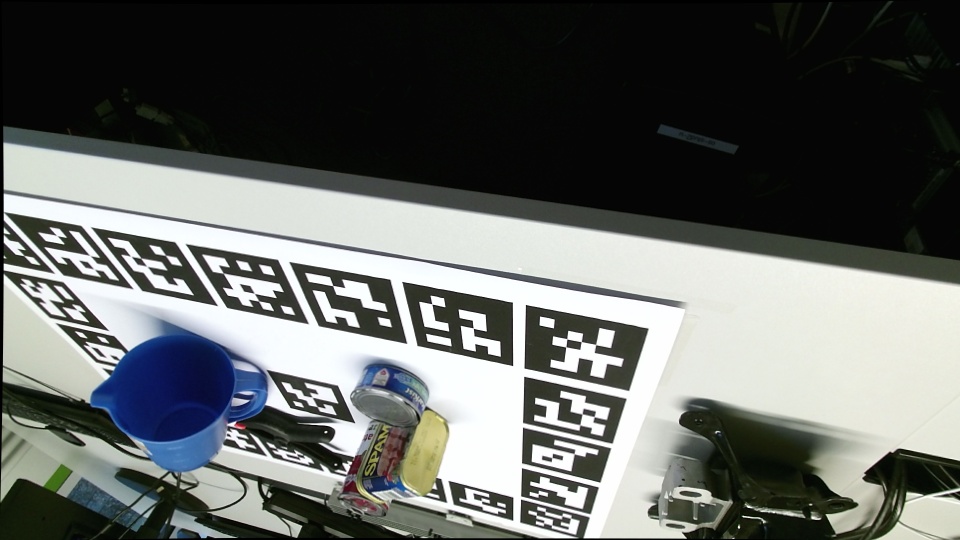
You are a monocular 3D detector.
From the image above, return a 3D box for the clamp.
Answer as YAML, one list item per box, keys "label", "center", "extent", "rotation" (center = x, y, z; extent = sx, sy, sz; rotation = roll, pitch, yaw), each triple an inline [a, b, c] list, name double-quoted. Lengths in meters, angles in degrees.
- label: "clamp"
  center: [-0.267, 0.243, 0.812]
  extent: [0.165, 0.036, 0.122]
  rotation: [13, 141, 13]

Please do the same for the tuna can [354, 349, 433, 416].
- label: "tuna can"
  center: [-0.099, 0.131, 0.620]
  extent: [0.086, 0.033, 0.086]
  rotation: [10, 135, 11]

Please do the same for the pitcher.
- label: "pitcher"
  center: [-0.397, 0.189, 0.716]
  extent: [0.190, 0.132, 0.243]
  rotation: [7, 148, -18]

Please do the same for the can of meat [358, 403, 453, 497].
- label: "can of meat"
  center: [-0.087, 0.216, 0.649]
  extent: [0.084, 0.101, 0.058]
  rotation: [-23, 121, 33]

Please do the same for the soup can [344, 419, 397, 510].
- label: "soup can"
  center: [-0.129, 0.254, 0.710]
  extent: [0.068, 0.101, 0.068]
  rotation: [9, 134, 9]
